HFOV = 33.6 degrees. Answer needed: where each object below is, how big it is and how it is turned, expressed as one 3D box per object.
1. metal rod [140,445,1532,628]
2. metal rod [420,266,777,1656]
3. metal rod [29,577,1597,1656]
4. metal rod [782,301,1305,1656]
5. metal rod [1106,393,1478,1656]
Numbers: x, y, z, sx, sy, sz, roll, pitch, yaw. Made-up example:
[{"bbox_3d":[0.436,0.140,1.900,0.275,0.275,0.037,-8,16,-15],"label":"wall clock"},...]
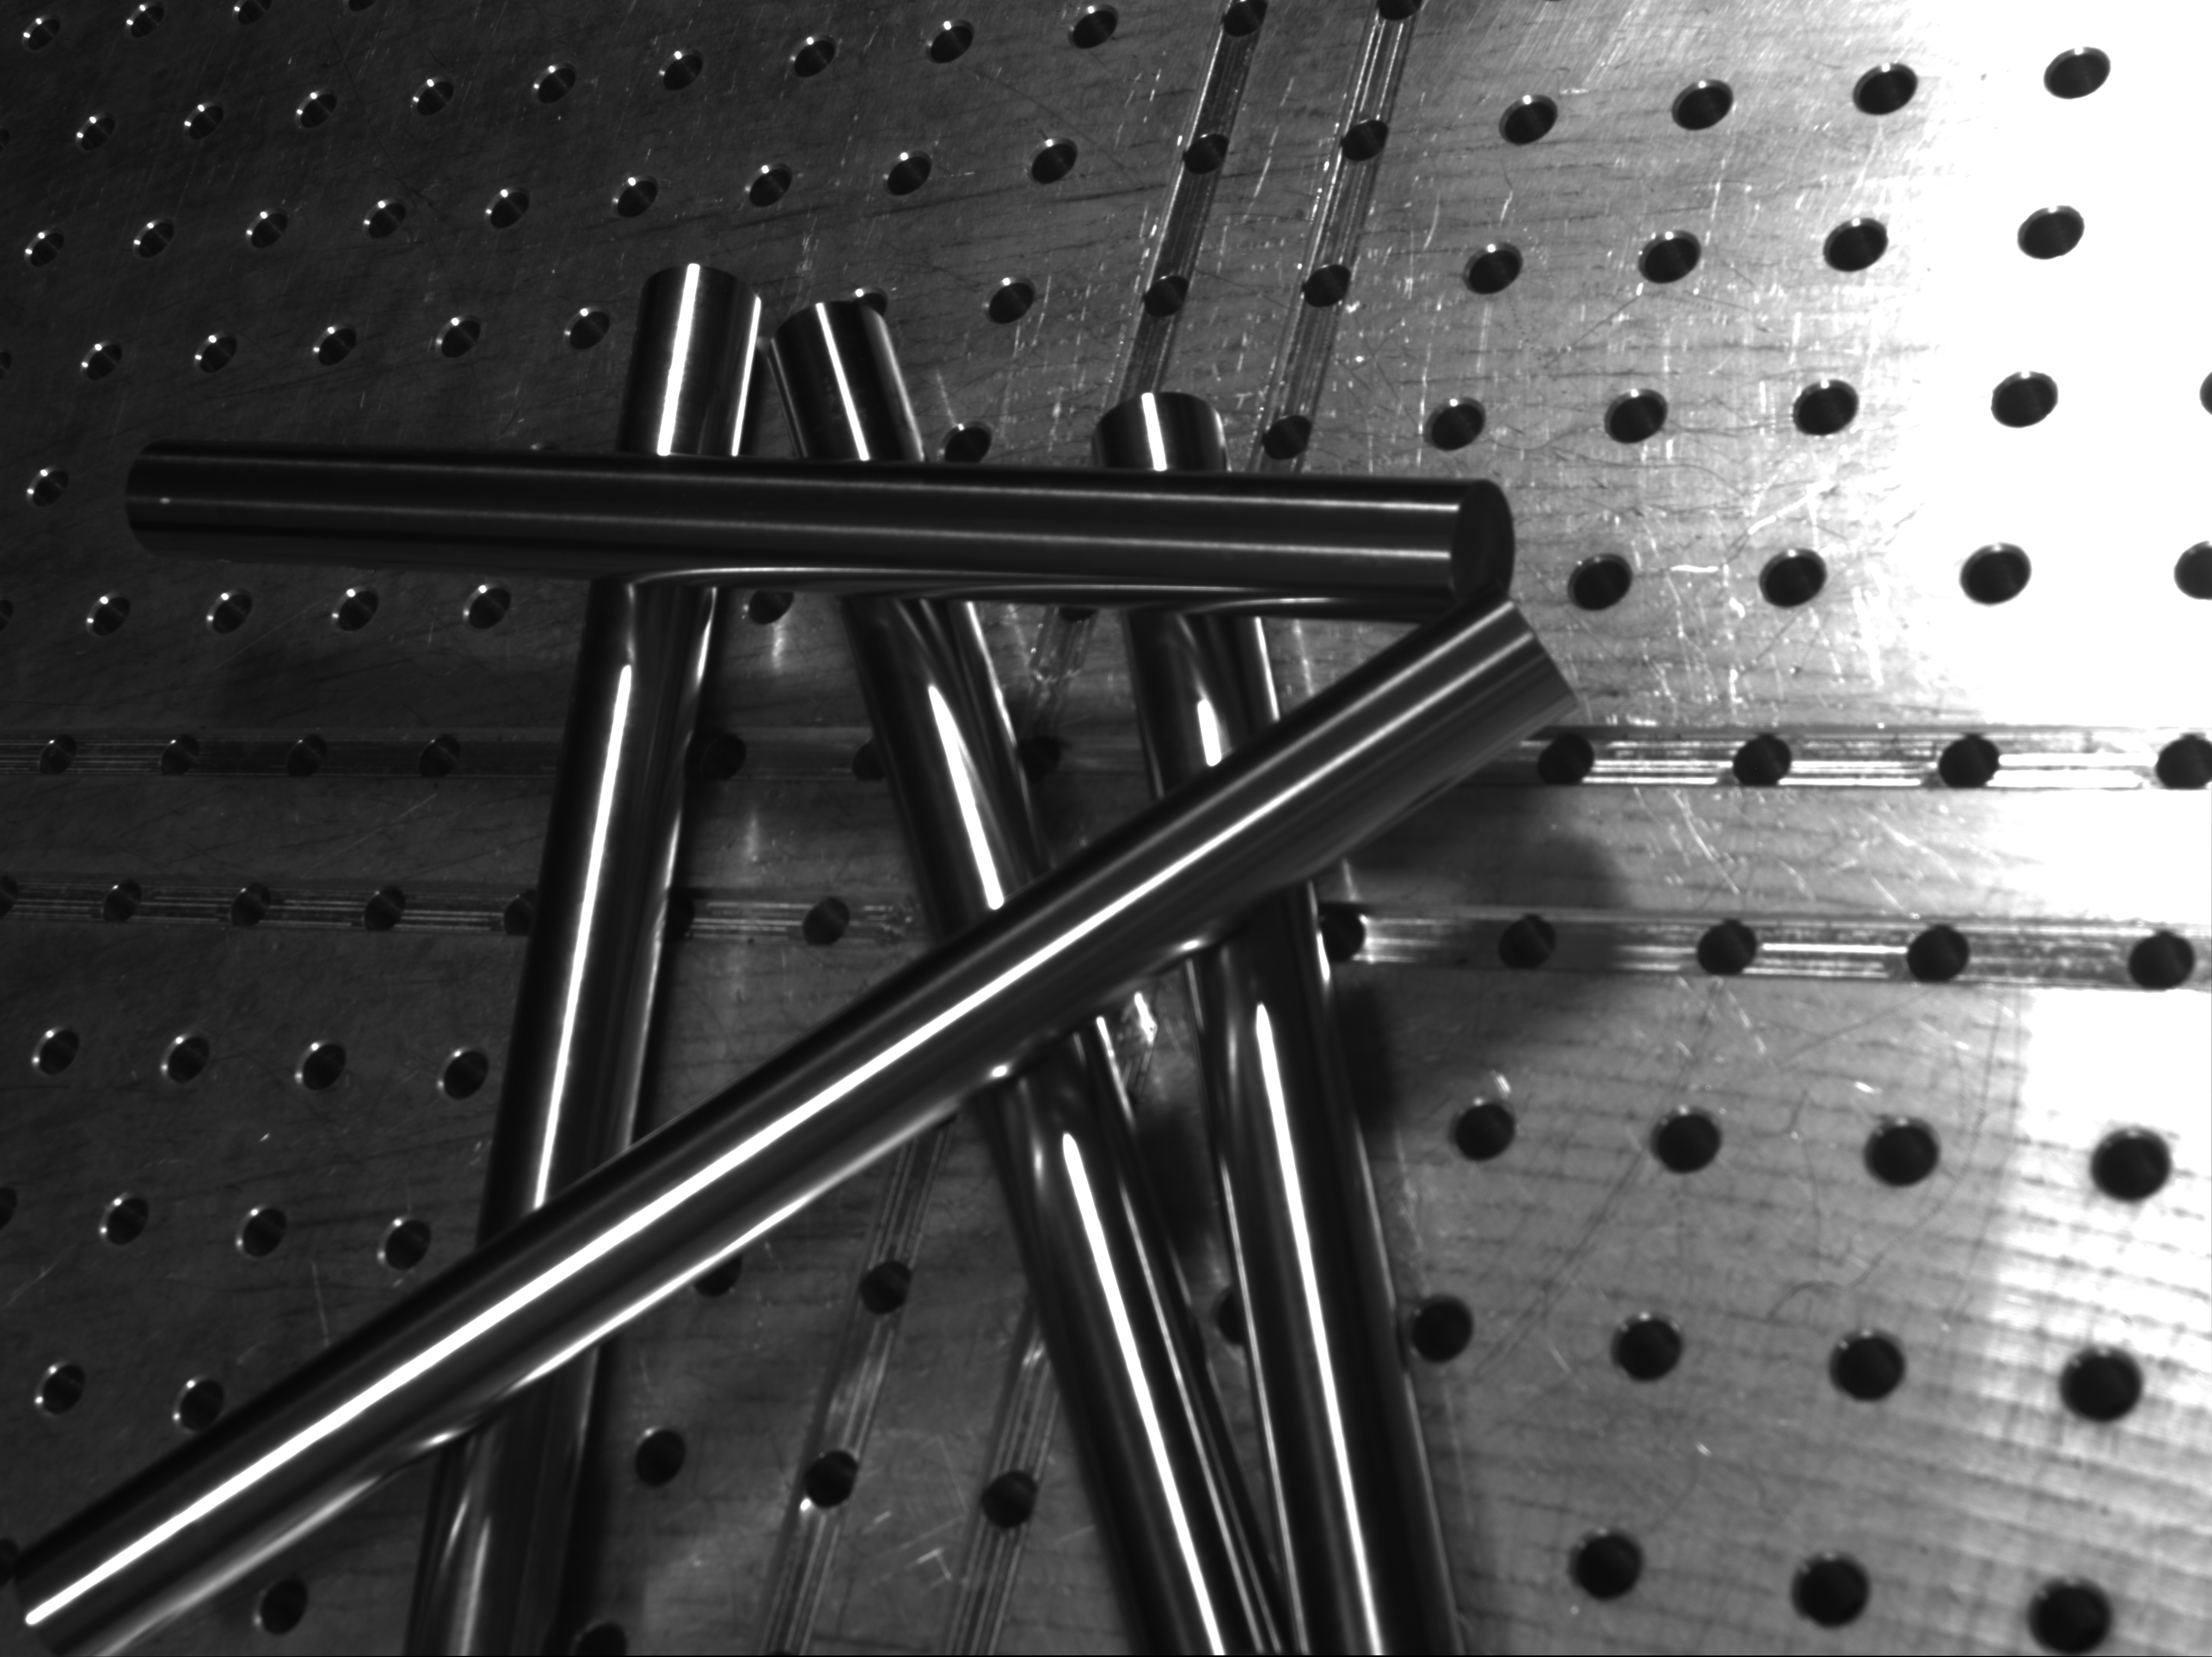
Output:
[{"bbox_3d":[-0.063,-0.056,0.684,0.299,0.025,0.025,5,64,31],"label":"metal rod"},{"bbox_3d":[-0.092,0.021,0.683,0.025,0.025,0.300,-9,57,24],"label":"metal rod"},{"bbox_3d":[-0.052,0.052,0.610,0.300,0.025,0.025,-33,51,6],"label":"metal rod"},{"bbox_3d":[-0.016,0.017,0.645,0.025,0.025,0.300,-27,52,12],"label":"metal rod"},{"bbox_3d":[0.031,0.049,0.600,0.025,0.025,0.300,-21,53,16],"label":"metal rod"}]
